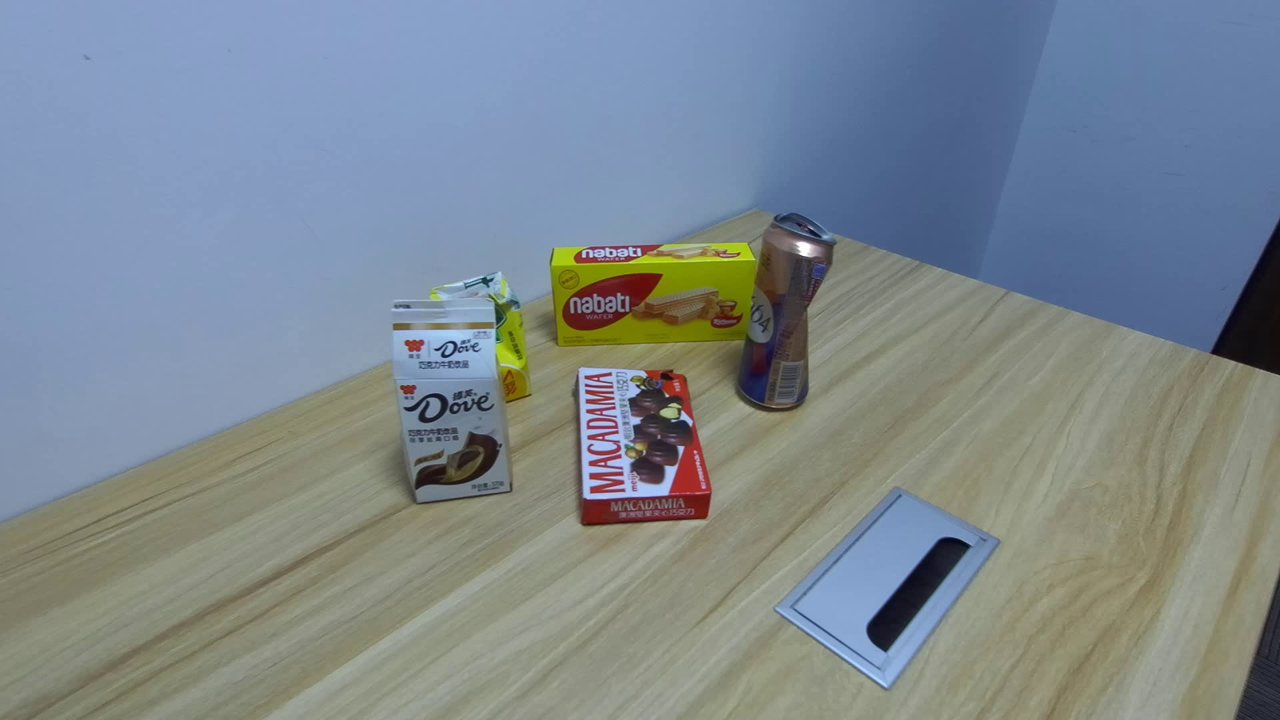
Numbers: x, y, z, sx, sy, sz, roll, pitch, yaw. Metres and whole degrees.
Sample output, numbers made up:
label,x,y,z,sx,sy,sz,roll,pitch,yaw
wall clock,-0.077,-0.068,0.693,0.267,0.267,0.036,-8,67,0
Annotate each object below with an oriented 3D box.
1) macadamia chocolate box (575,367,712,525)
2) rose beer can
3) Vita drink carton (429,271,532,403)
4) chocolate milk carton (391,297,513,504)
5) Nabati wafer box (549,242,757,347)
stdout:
label,x,y,z,sx,sy,sz,roll,pitch,yaw
macadamia chocolate box,-0.001,0.059,0.587,0.103,0.027,0.186,-1,33,-6
rose beer can,0.125,-0.039,0.611,0.069,0.168,0.070,25,34,32
Vita drink carton,-0.138,-0.014,0.625,0.071,0.110,0.046,-17,34,-24
chocolate milk carton,-0.143,0.022,0.528,0.084,0.155,0.073,-6,34,-8
Nabati wafer box,0.014,-0.065,0.717,0.203,0.093,0.042,-2,29,-2
